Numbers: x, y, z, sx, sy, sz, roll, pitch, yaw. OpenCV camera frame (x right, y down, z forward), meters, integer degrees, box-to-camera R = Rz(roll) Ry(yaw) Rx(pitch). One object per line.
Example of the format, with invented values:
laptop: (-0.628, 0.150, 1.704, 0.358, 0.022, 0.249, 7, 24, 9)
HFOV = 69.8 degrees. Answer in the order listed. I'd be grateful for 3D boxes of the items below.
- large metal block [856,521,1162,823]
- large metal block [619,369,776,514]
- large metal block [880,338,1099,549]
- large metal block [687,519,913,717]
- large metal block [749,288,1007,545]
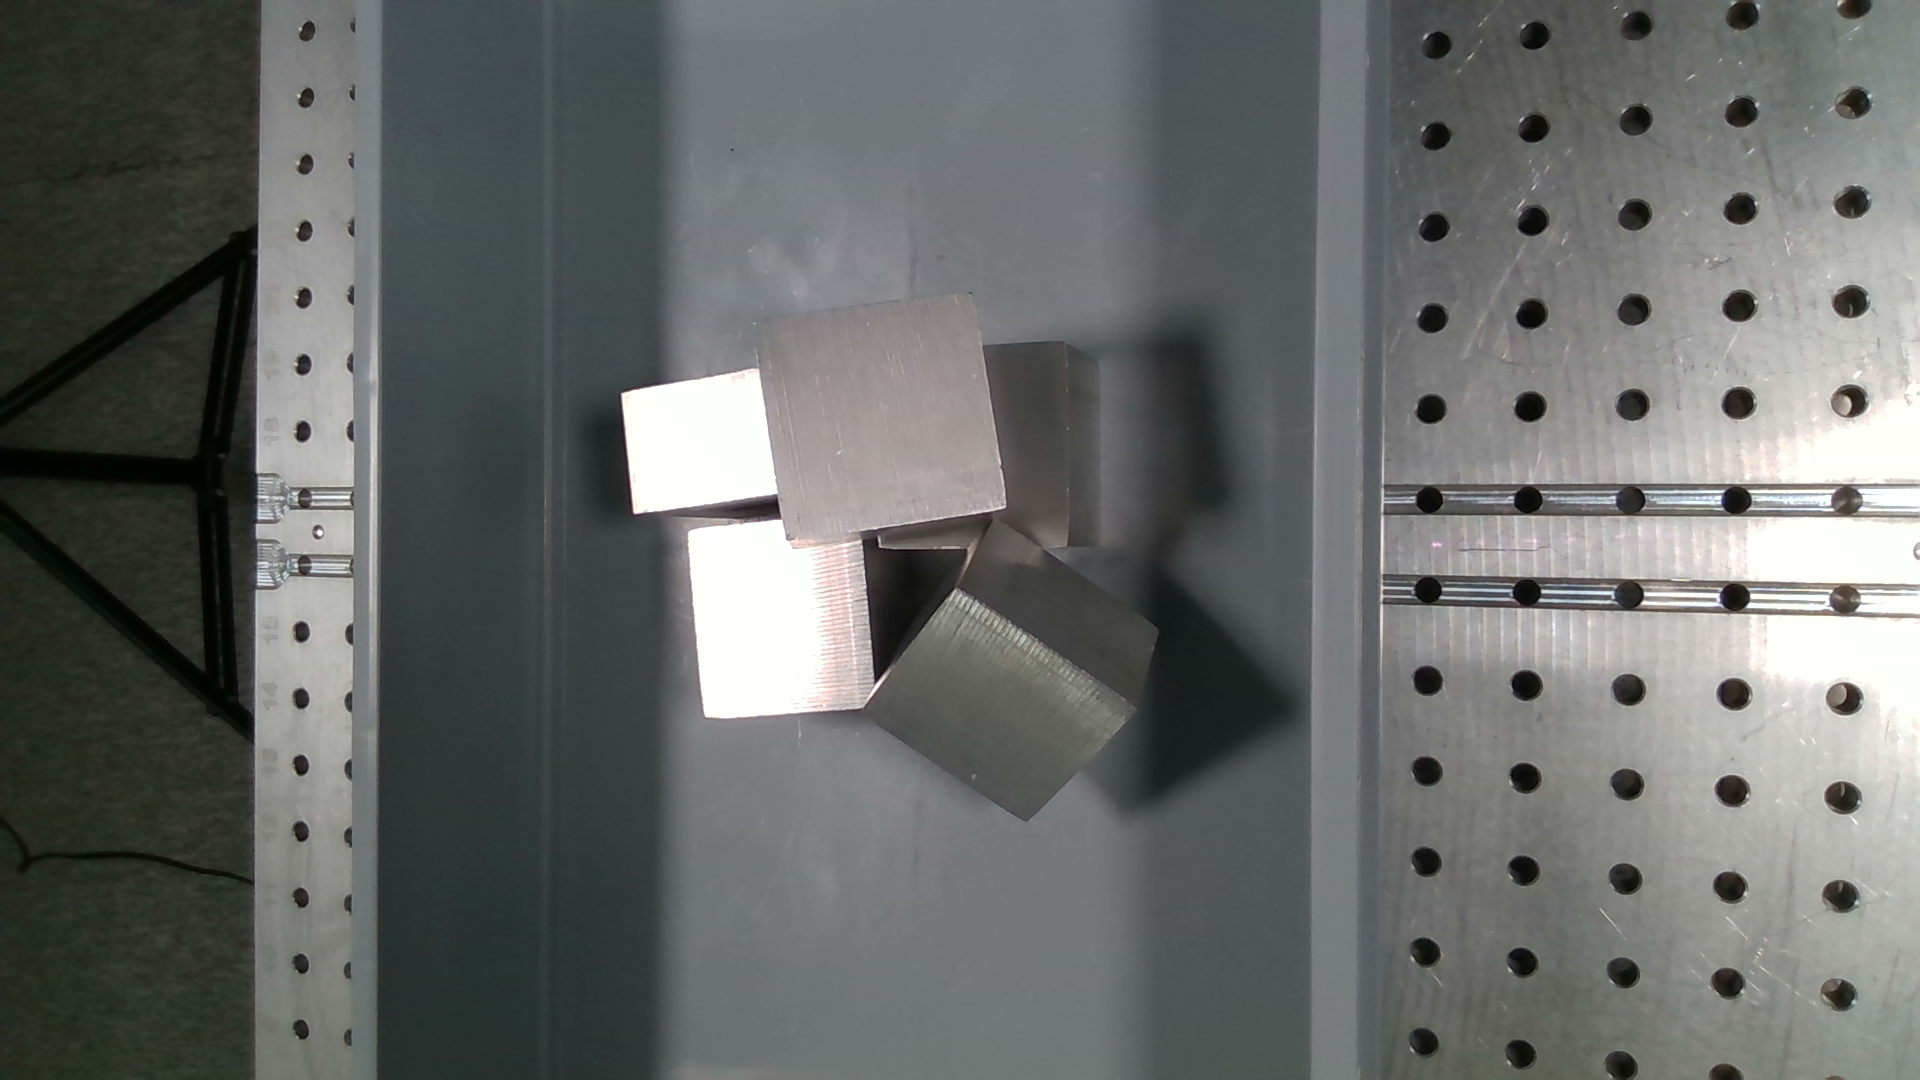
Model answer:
large metal block: (0.019, 0.051, 0.537, 0.080, 0.050, 0.080, 34, 127, -4)
large metal block: (-0.086, -0.040, 0.586, 0.080, 0.080, 0.050, -7, 88, 20)
large metal block: (0.013, -0.037, 0.566, 0.080, 0.050, 0.080, -1, 90, 20)
large metal block: (-0.066, 0.031, 0.594, 0.080, 0.050, 0.080, -6, 88, 20)
large metal block: (-0.031, -0.043, 0.513, 0.080, 0.050, 0.080, -9, 87, -5)
